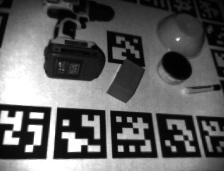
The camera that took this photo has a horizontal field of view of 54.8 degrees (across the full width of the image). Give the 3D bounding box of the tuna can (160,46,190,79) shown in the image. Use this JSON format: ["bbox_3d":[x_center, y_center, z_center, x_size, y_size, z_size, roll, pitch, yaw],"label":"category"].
[{"bbox_3d":[0.171,-0.060,0.572,0.086,0.033,0.085,9,63,-17],"label":"tuna can"}]

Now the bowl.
[{"bbox_3d":[0.214,-0.173,0.641,0.162,0.055,0.161,8,56,-11],"label":"bowl"}]

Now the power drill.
[{"bbox_3d":[-0.079,-0.130,0.511,0.186,0.057,0.186,5,61,-21],"label":"power drill"}]

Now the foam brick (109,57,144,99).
[{"bbox_3d":[0.036,-0.018,0.502,0.051,0.052,0.078,27,61,-6],"label":"foam brick"}]

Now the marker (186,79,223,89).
[{"bbox_3d":[0.254,-0.004,0.581,0.122,0.019,0.019,-5,68,-21],"label":"marker"}]
